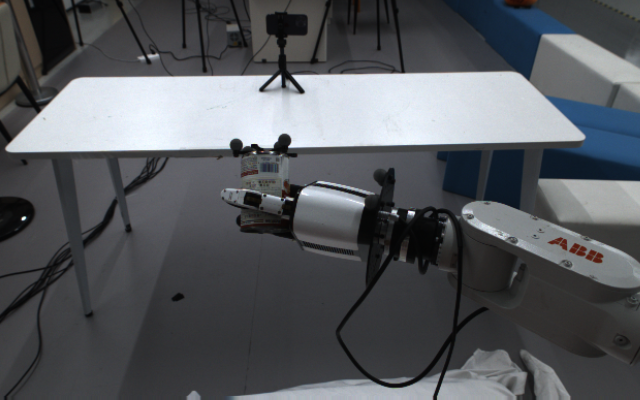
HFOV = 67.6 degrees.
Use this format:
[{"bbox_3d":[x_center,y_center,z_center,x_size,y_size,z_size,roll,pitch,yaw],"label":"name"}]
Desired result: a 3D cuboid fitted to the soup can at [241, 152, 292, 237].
[{"bbox_3d":[-0.072,-0.008,0.649,0.067,0.101,0.067,-1,-9,0],"label":"soup can"}]
